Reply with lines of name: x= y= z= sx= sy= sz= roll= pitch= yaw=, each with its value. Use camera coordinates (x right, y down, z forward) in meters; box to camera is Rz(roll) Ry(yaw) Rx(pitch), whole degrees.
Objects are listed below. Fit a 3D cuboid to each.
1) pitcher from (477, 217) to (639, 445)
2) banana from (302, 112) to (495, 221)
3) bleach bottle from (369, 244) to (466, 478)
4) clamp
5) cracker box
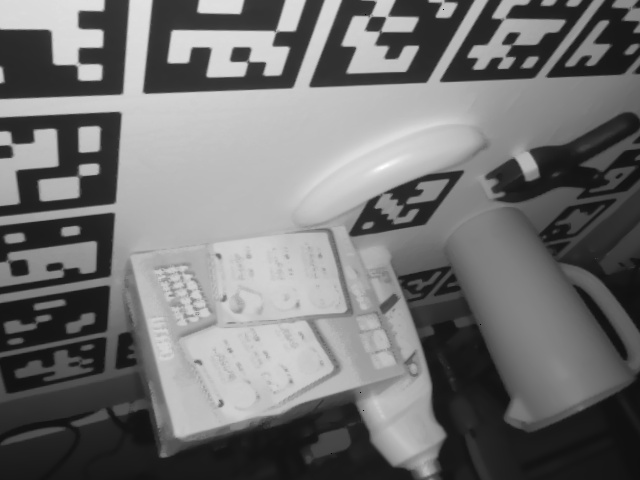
pitcher: x=0.283 y=0.093 z=0.786 sx=0.190 sy=0.243 sz=0.132 roll=-16 pitch=151 yaw=-6
banana: x=0.067 y=-0.071 z=0.634 sx=0.197 sy=0.039 sz=0.074 roll=-26 pitch=151 yaw=5
bleach bottle: x=0.095 y=0.126 z=0.747 sx=0.104 sy=0.251 sz=0.067 roll=-9 pitch=148 yaw=-24
clamp: x=0.264 y=-0.082 z=0.741 sx=0.166 sy=0.036 sz=0.121 roll=-16 pitch=151 yaw=-9
cracker box: x=-0.036 y=0.082 z=0.638 sx=0.217 sy=0.164 sz=0.071 roll=-9 pitch=151 yaw=-27
